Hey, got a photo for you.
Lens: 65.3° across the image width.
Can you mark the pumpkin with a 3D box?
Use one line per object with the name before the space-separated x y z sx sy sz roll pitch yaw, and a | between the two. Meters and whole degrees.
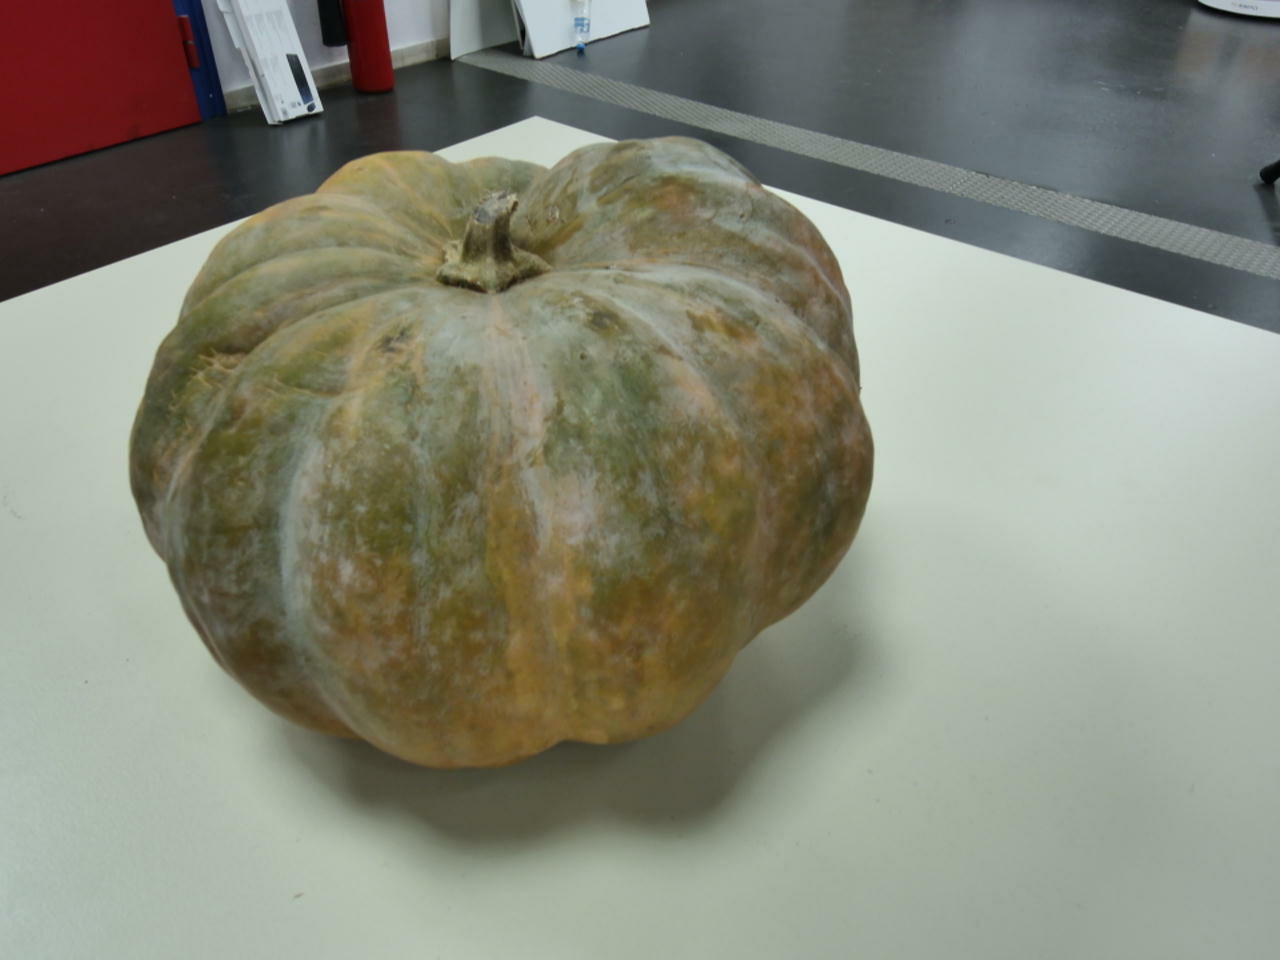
pumpkin | -0.045 -0.019 0.349 0.252 0.169 0.251 0 36 0
